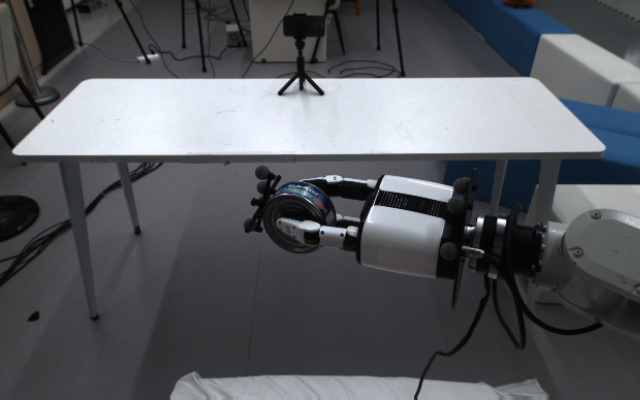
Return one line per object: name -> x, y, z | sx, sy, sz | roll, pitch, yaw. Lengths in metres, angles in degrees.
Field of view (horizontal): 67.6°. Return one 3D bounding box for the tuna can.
tuna can -> -0.022, 0.026, 0.584 | 0.085, 0.085, 0.034 | 12, 30, 14
